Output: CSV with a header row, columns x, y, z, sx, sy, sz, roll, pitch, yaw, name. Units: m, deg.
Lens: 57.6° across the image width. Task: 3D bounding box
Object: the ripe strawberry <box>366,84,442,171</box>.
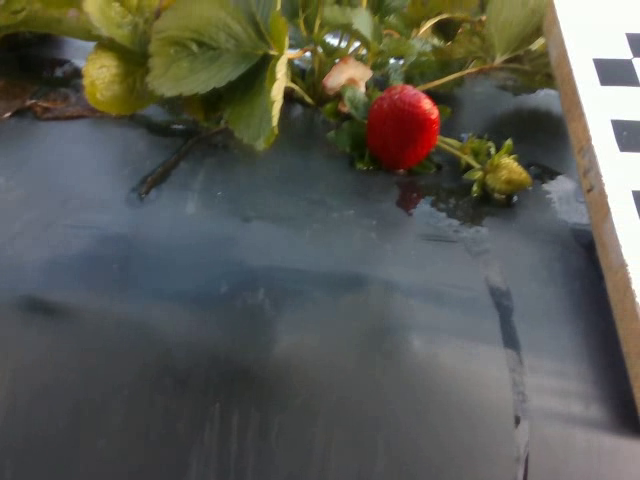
x,y,z,sx,sy,sz,roll,pitch,yaw,name
0.052,-0.067,0.322,0.043,0.052,0.057,-23,-1,-9,ripe strawberry
